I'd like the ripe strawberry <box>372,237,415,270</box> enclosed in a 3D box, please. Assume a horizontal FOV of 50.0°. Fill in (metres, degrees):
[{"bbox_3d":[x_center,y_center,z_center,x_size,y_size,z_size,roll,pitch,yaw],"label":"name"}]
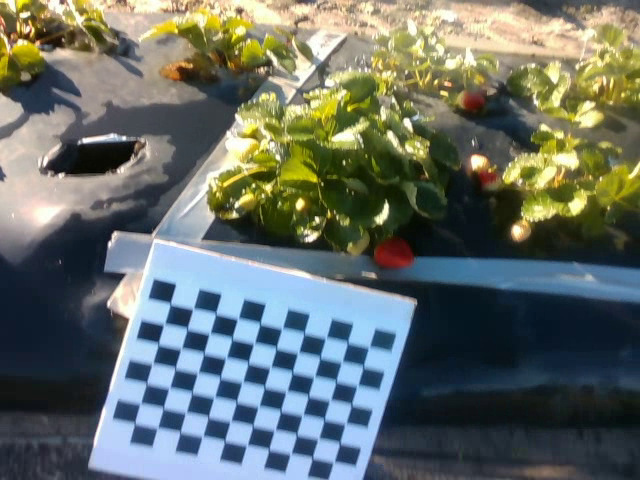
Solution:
[{"bbox_3d":[0.085,0.019,0.768,0.048,0.045,0.063,41,-4,-28],"label":"ripe strawberry"}]
